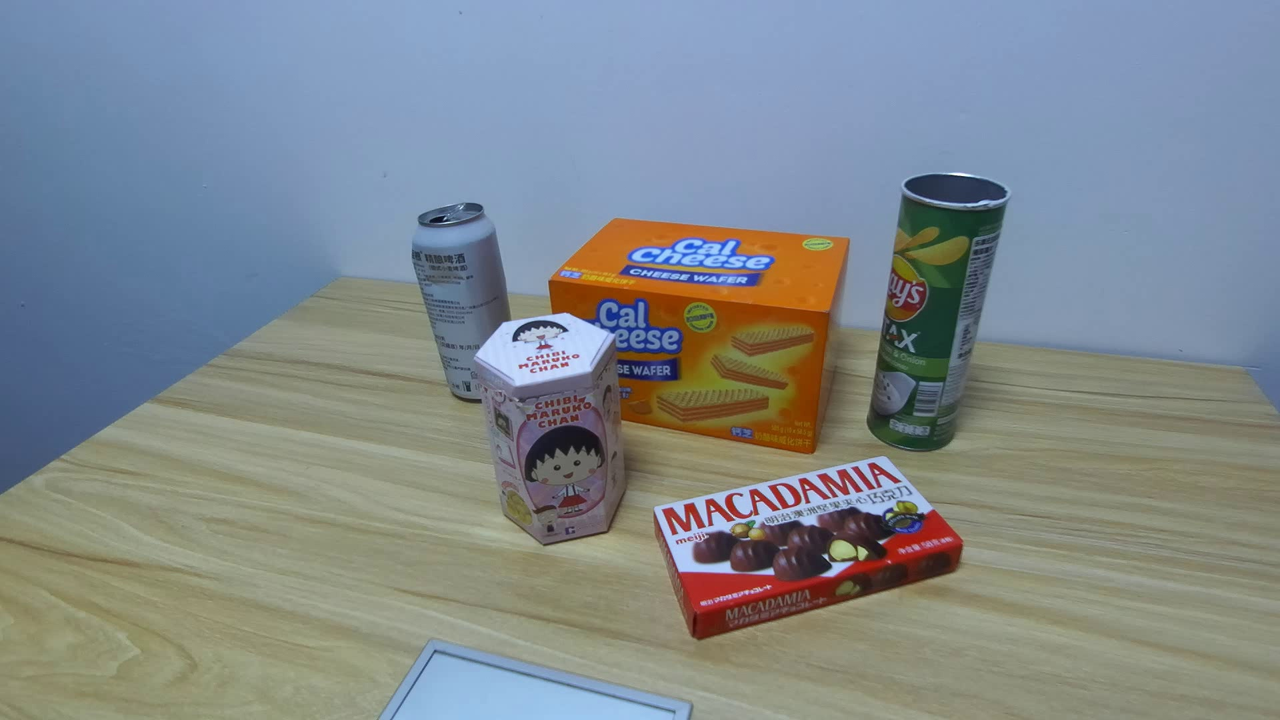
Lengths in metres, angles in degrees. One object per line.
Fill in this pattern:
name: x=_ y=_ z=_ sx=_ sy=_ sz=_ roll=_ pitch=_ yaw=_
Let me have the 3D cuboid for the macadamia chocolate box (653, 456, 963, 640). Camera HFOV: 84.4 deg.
macadamia chocolate box: x=0.106 y=0.117 z=0.464 sx=0.178 sy=0.027 sz=0.095 roll=-10 pitch=31 yaw=-10

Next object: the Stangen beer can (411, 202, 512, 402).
Stangen beer can: x=-0.150 y=-0.051 z=0.620 sx=0.070 sy=0.173 sz=0.069 roll=0 pitch=30 yaw=5

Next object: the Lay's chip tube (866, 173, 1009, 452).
Lay's chip tube: x=0.218 y=-0.032 z=0.527 sx=0.071 sy=0.203 sz=0.071 roll=-3 pitch=31 yaw=2

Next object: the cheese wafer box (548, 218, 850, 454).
cheese wafer box: x=0.057 y=-0.030 z=0.609 sx=0.221 sy=0.129 sz=0.148 roll=9 pitch=34 yaw=17

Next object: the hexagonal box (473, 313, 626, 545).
hexagonal box: x=-0.056 y=0.048 z=0.482 sx=0.091 sy=0.136 sz=0.083 roll=-10 pitch=32 yaw=-11
